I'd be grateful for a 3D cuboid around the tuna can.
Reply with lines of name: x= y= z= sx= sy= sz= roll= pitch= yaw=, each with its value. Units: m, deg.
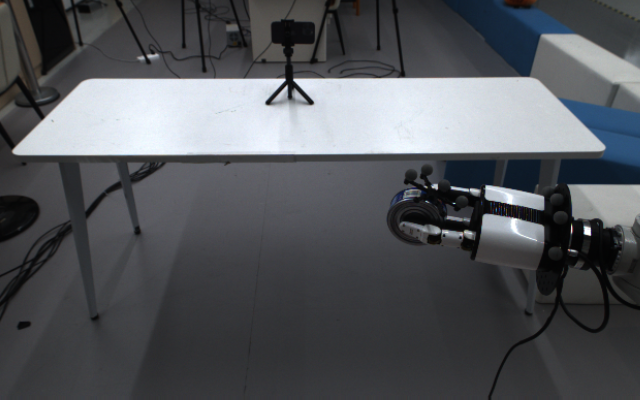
tuna can: x=0.146 y=0.031 z=0.712 sx=0.085 sy=0.085 sz=0.034 roll=12 pitch=35 yaw=14
